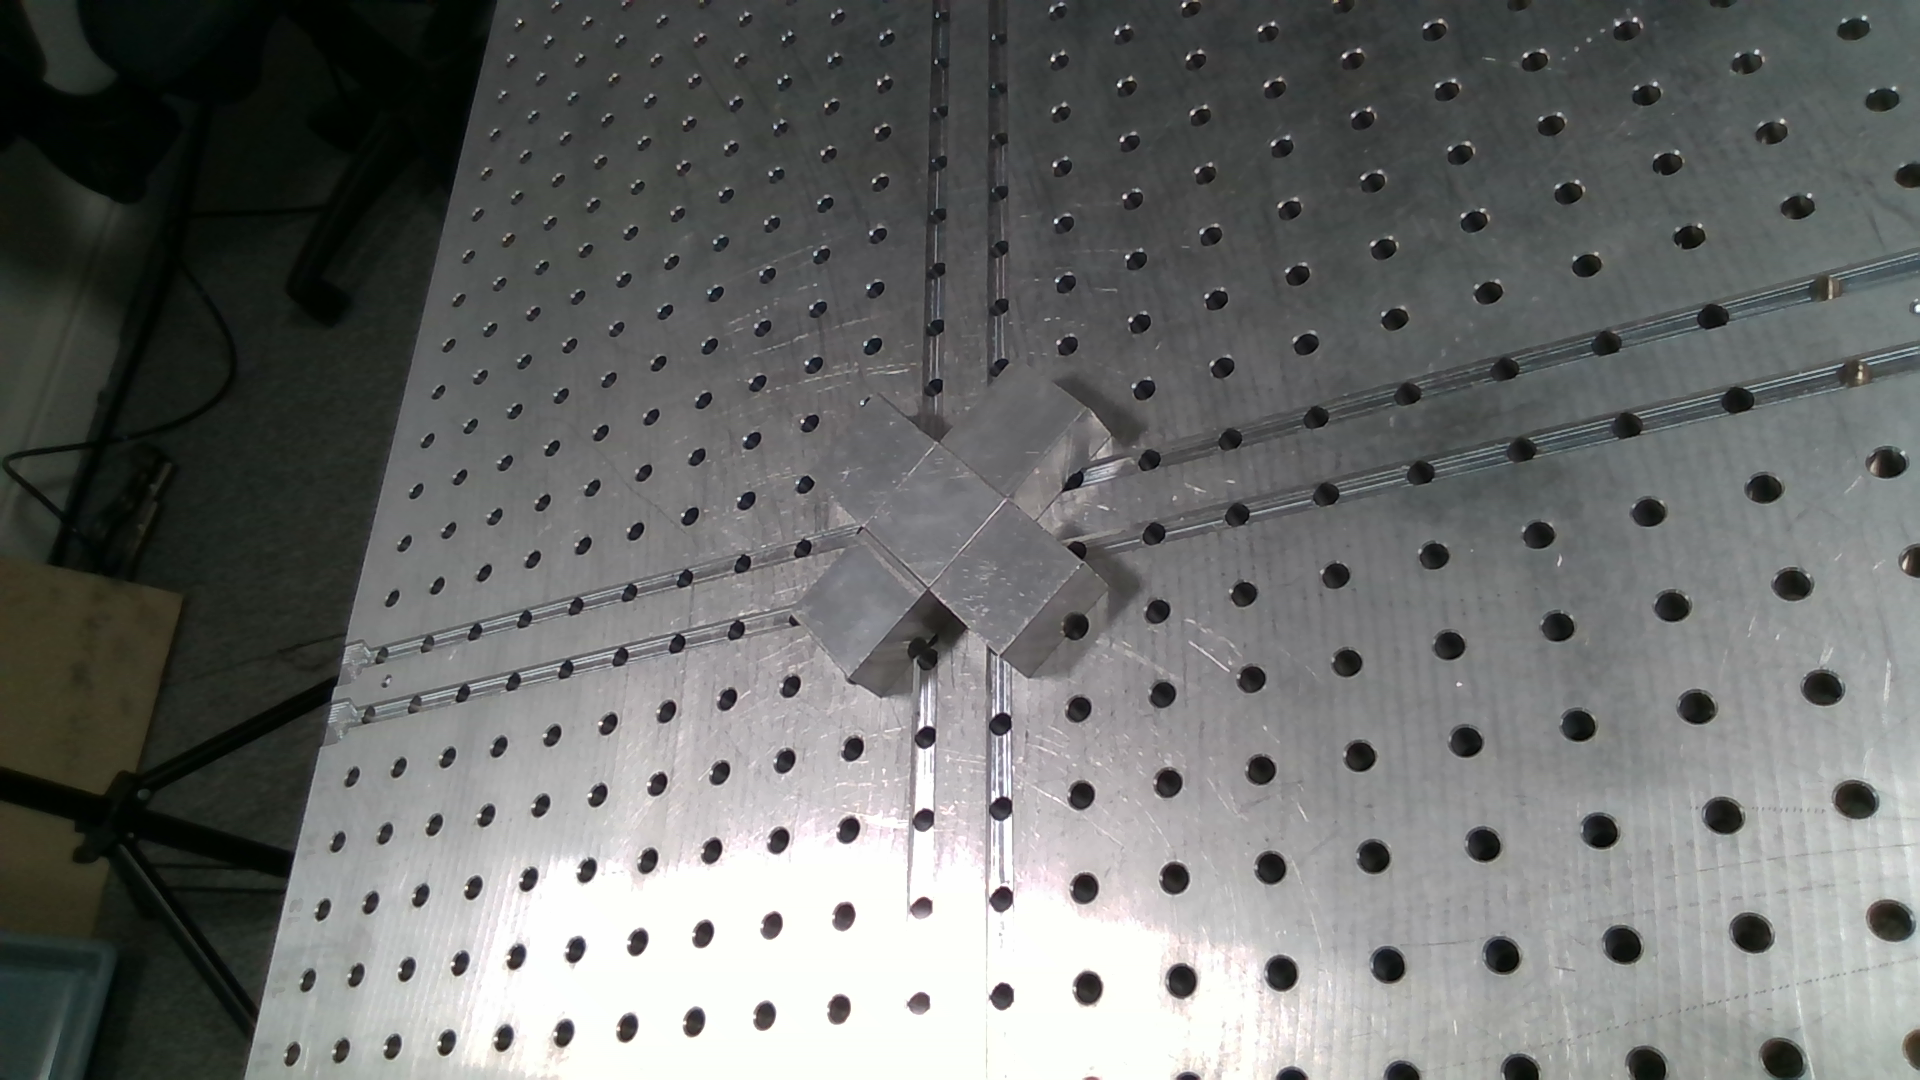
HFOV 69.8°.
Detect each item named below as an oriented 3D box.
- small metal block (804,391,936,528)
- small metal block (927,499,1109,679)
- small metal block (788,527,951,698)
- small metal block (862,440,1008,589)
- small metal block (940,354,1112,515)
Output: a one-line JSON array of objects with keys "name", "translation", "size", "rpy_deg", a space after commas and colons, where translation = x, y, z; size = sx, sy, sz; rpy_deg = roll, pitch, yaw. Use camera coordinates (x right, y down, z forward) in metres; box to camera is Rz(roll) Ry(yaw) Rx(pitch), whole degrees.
[{"name": "small metal block", "translation": [-0.035, -0.032, 0.627], "size": [0.050, 0.025, 0.050], "rpy_deg": [-49, 51, 0]}, {"name": "small metal block", "translation": [0.023, 0.020, 0.563], "size": [0.050, 0.025, 0.050], "rpy_deg": [-49, 51, 0]}, {"name": "small metal block", "translation": [-0.038, 0.031, 0.596], "size": [0.050, 0.025, 0.050], "rpy_deg": [-49, 51, 1]}, {"name": "small metal block", "translation": [-0.006, -0.007, 0.594], "size": [0.050, 0.025, 0.050], "rpy_deg": [-49, 51, 0]}, {"name": "small metal block", "translation": [0.028, -0.044, 0.595], "size": [0.050, 0.025, 0.050], "rpy_deg": [-49, 51, 1]}]
